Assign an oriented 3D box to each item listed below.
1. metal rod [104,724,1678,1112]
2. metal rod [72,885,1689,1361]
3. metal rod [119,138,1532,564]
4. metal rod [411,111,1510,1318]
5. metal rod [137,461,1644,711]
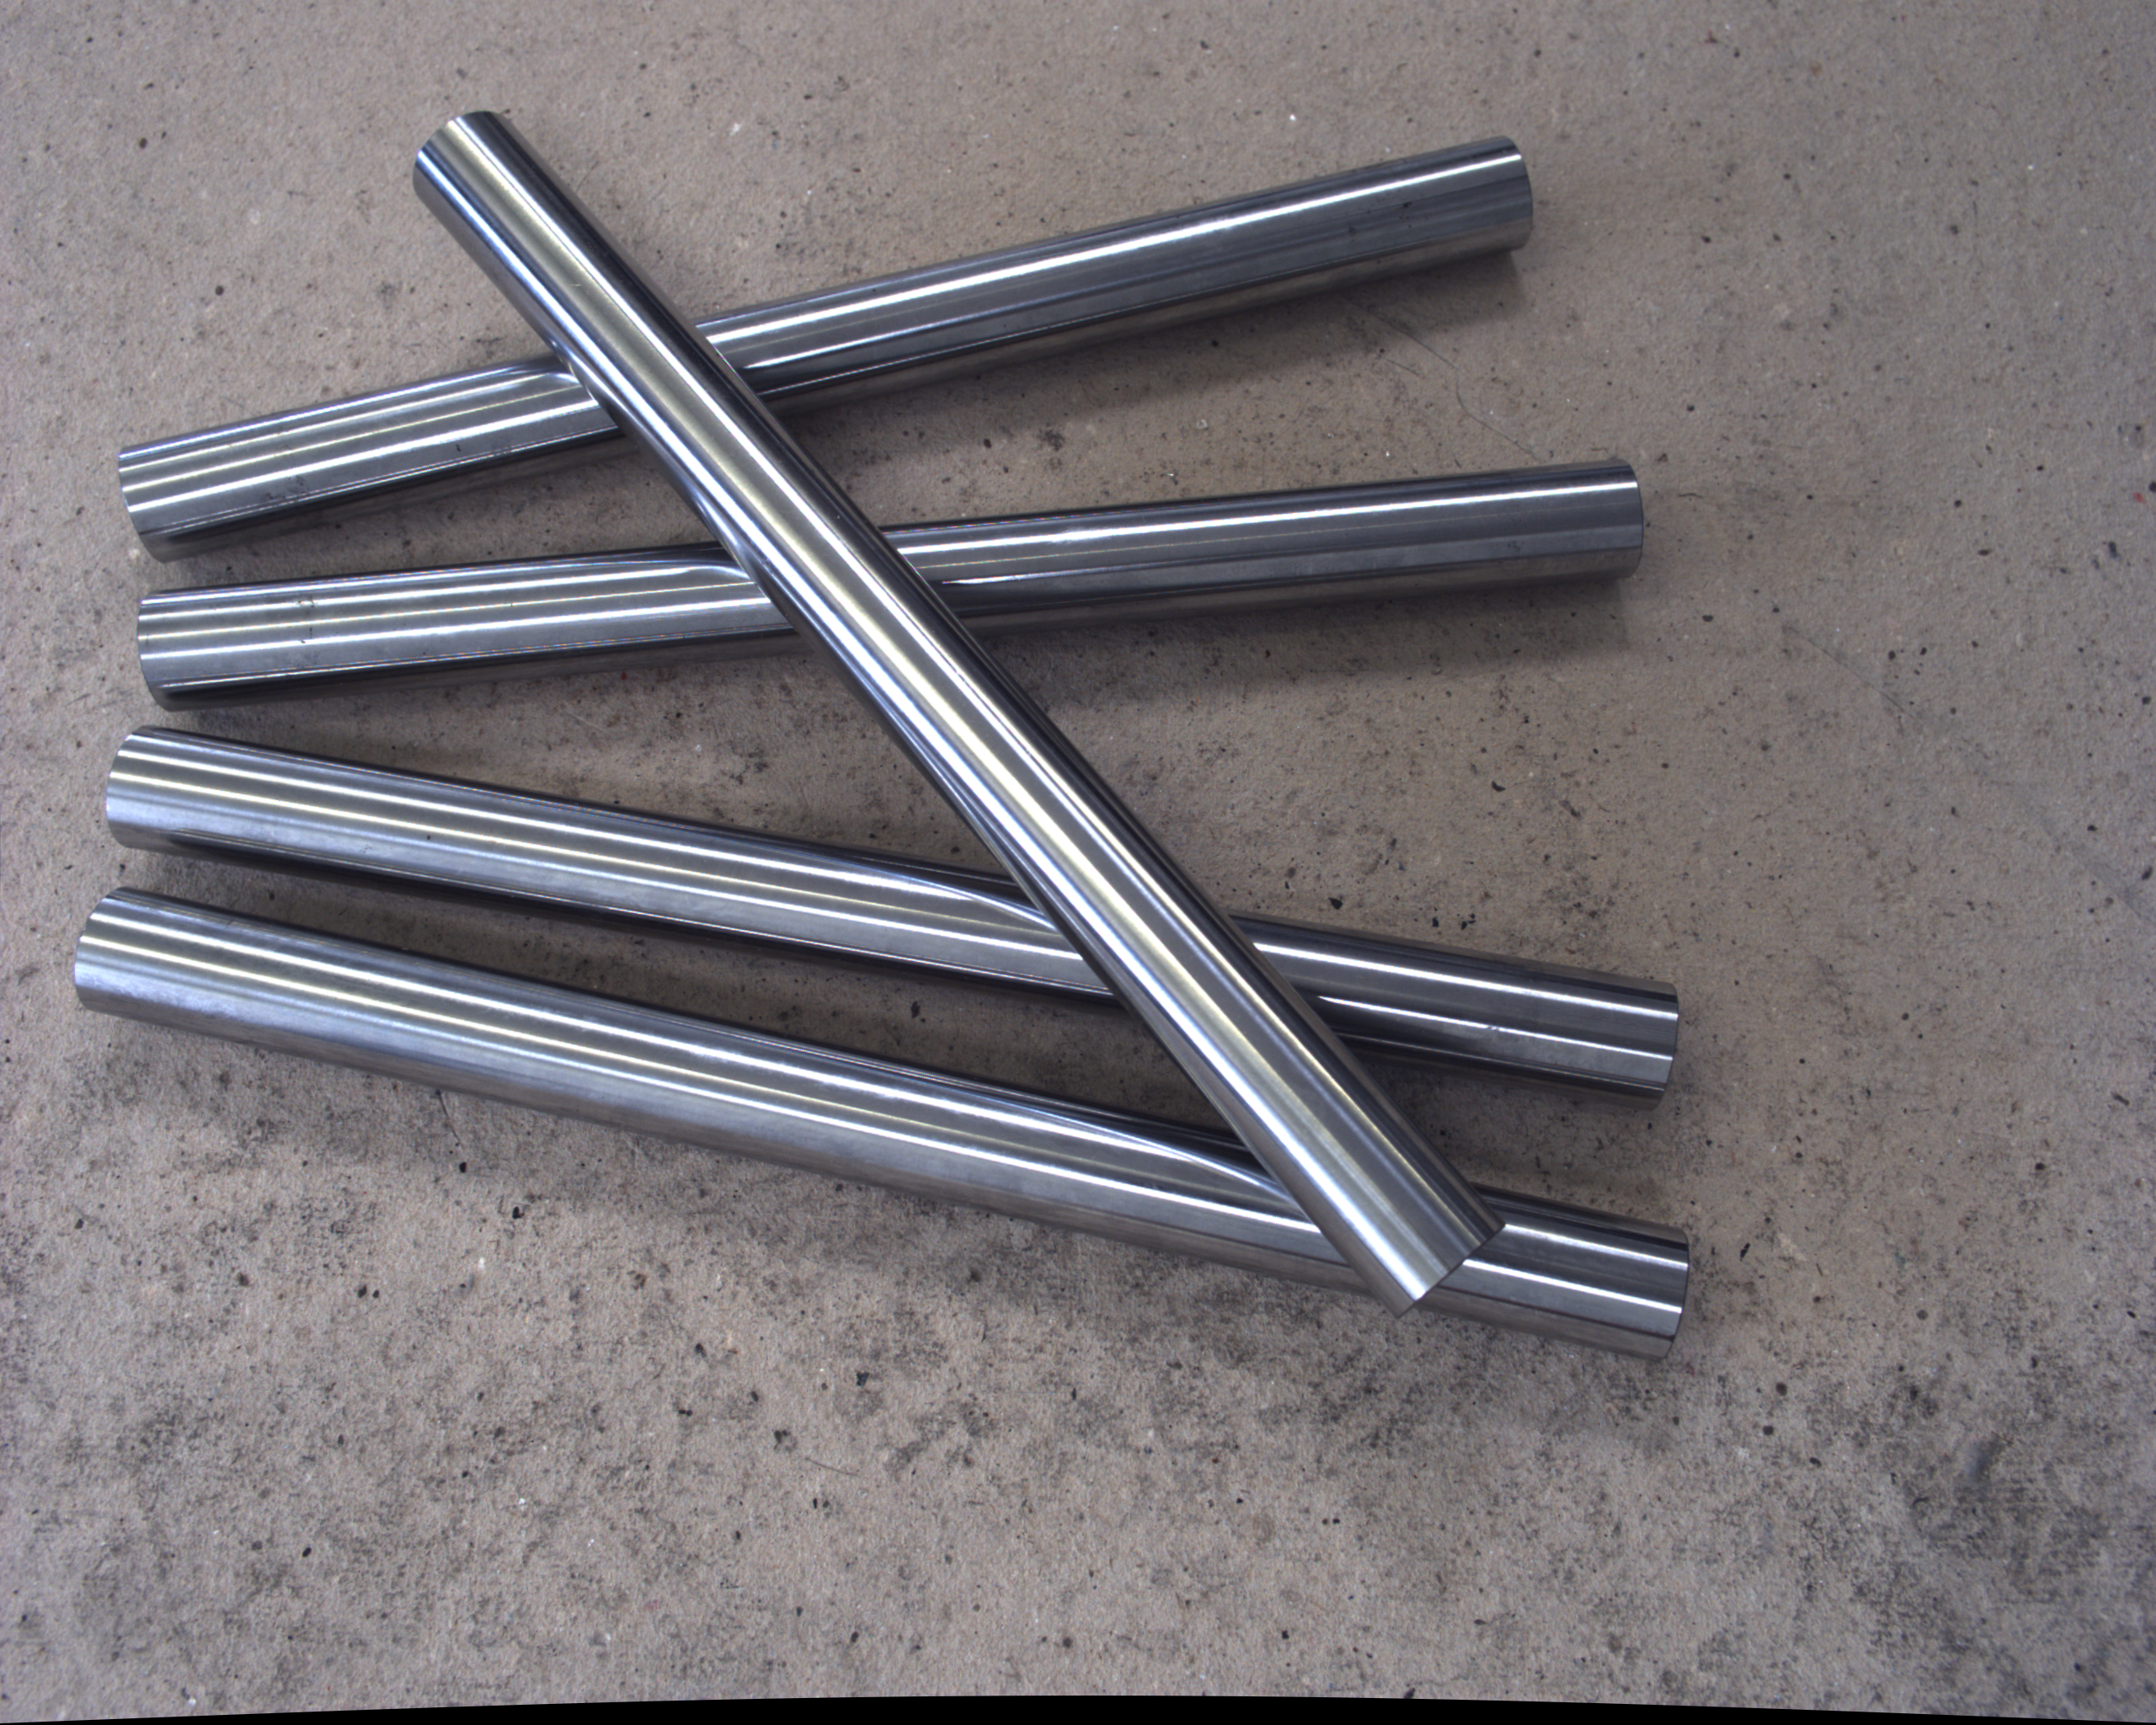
[{"bbox_3d":[-0.038,0.010,0.405,0.302,0.025,0.025,10,70,3],"label":"metal rod"},{"bbox_3d":[-0.039,0.048,0.391,0.302,0.025,0.025,12,71,4],"label":"metal rod"},{"bbox_3d":[-0.049,-0.112,0.450,0.302,0.025,0.025,-14,71,-6],"label":"metal rod"},{"bbox_3d":[-0.032,-0.038,0.396,0.025,0.025,0.300,-38,74,-13],"label":"metal rod"},{"bbox_3d":[-0.036,-0.057,0.430,0.302,0.025,0.025,-5,70,-3],"label":"metal rod"}]
